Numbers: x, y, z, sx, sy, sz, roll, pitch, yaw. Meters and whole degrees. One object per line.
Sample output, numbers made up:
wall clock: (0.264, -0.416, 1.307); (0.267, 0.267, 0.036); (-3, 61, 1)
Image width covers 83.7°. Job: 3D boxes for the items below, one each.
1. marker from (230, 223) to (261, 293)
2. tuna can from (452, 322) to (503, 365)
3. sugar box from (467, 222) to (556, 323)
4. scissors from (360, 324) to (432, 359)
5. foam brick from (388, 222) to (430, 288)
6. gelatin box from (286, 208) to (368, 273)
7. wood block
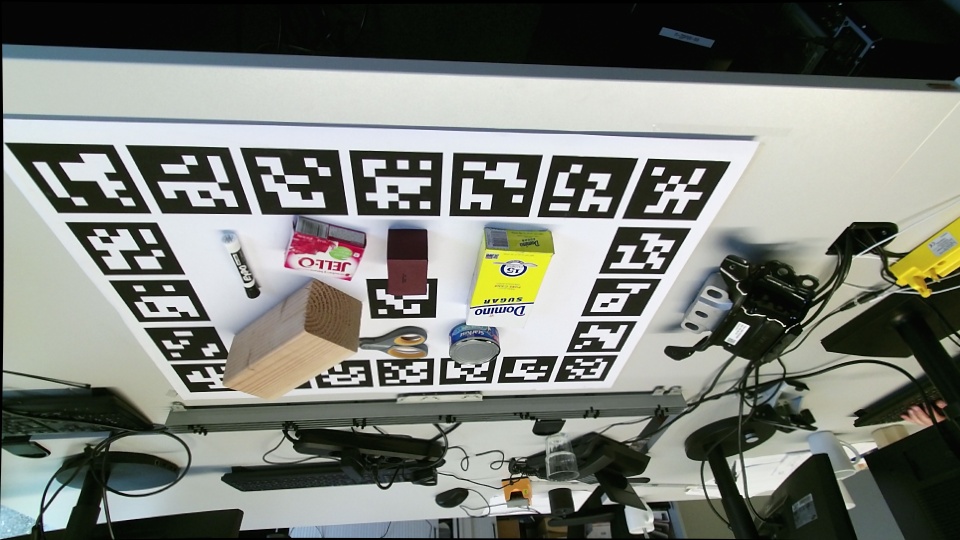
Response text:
marker: (-0.312, -0.012, 0.716); (0.020, 0.019, 0.121); (1, 136, -9)
tuna can: (-0.004, 0.121, 0.894); (0.086, 0.033, 0.086); (-4, 138, -4)
sugar box: (0.039, 0.009, 0.772); (0.093, 0.045, 0.176); (4, 137, -11)
scissors: (-0.178, 0.118, 0.885); (0.204, 0.016, 0.088); (4, 137, -15)
foam brick: (-0.096, -0.019, 0.710); (0.053, 0.051, 0.078); (1, 137, -9)
gelatin box: (-0.199, -0.036, 0.698); (0.090, 0.030, 0.073); (13, 134, -22)
wood block: (-0.285, 0.101, 0.800); (0.206, 0.090, 0.090); (-32, 134, 27)
